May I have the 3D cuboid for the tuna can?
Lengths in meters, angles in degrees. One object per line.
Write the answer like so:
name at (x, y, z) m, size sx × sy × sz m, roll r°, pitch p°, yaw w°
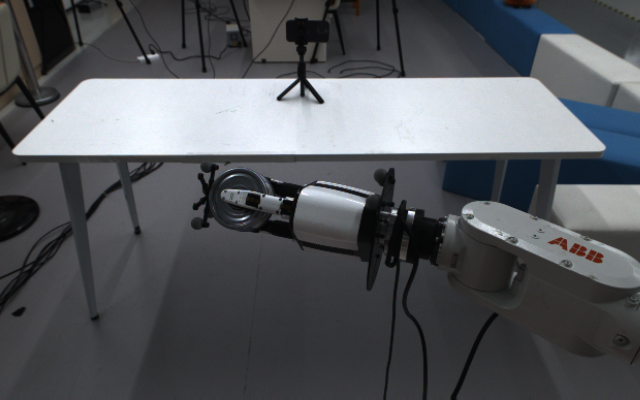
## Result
tuna can at (-0.104, -0.001, 0.656) m, size 0.085 × 0.085 × 0.034 m, roll 9°, pitch -6°, yaw 11°
